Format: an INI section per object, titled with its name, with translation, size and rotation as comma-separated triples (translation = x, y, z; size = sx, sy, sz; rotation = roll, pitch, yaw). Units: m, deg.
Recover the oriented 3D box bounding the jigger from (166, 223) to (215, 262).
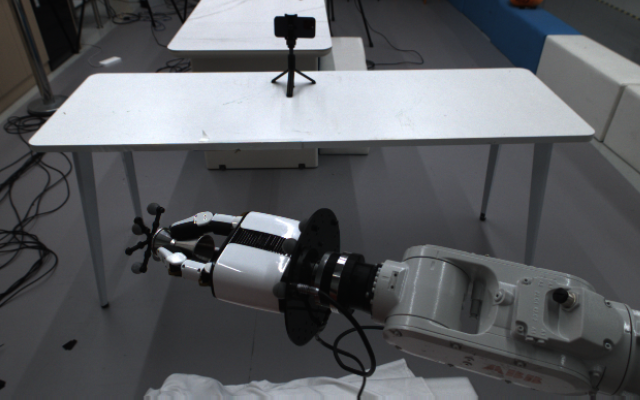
[jigger]
translation = -0.171, 0.058, 0.624
size = 0.071, 0.043, 0.043
rotation = 10, 35, 22
